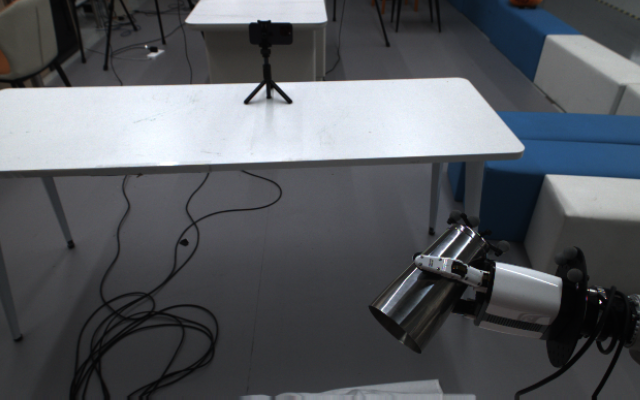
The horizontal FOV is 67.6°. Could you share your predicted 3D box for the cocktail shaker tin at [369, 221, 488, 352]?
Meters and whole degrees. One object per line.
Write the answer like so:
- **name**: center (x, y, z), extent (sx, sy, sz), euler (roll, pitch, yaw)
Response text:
- **cocktail shaker tin**: center (0.156, 0.110, 0.667), extent (0.170, 0.093, 0.093), euler (-43, 50, -14)
